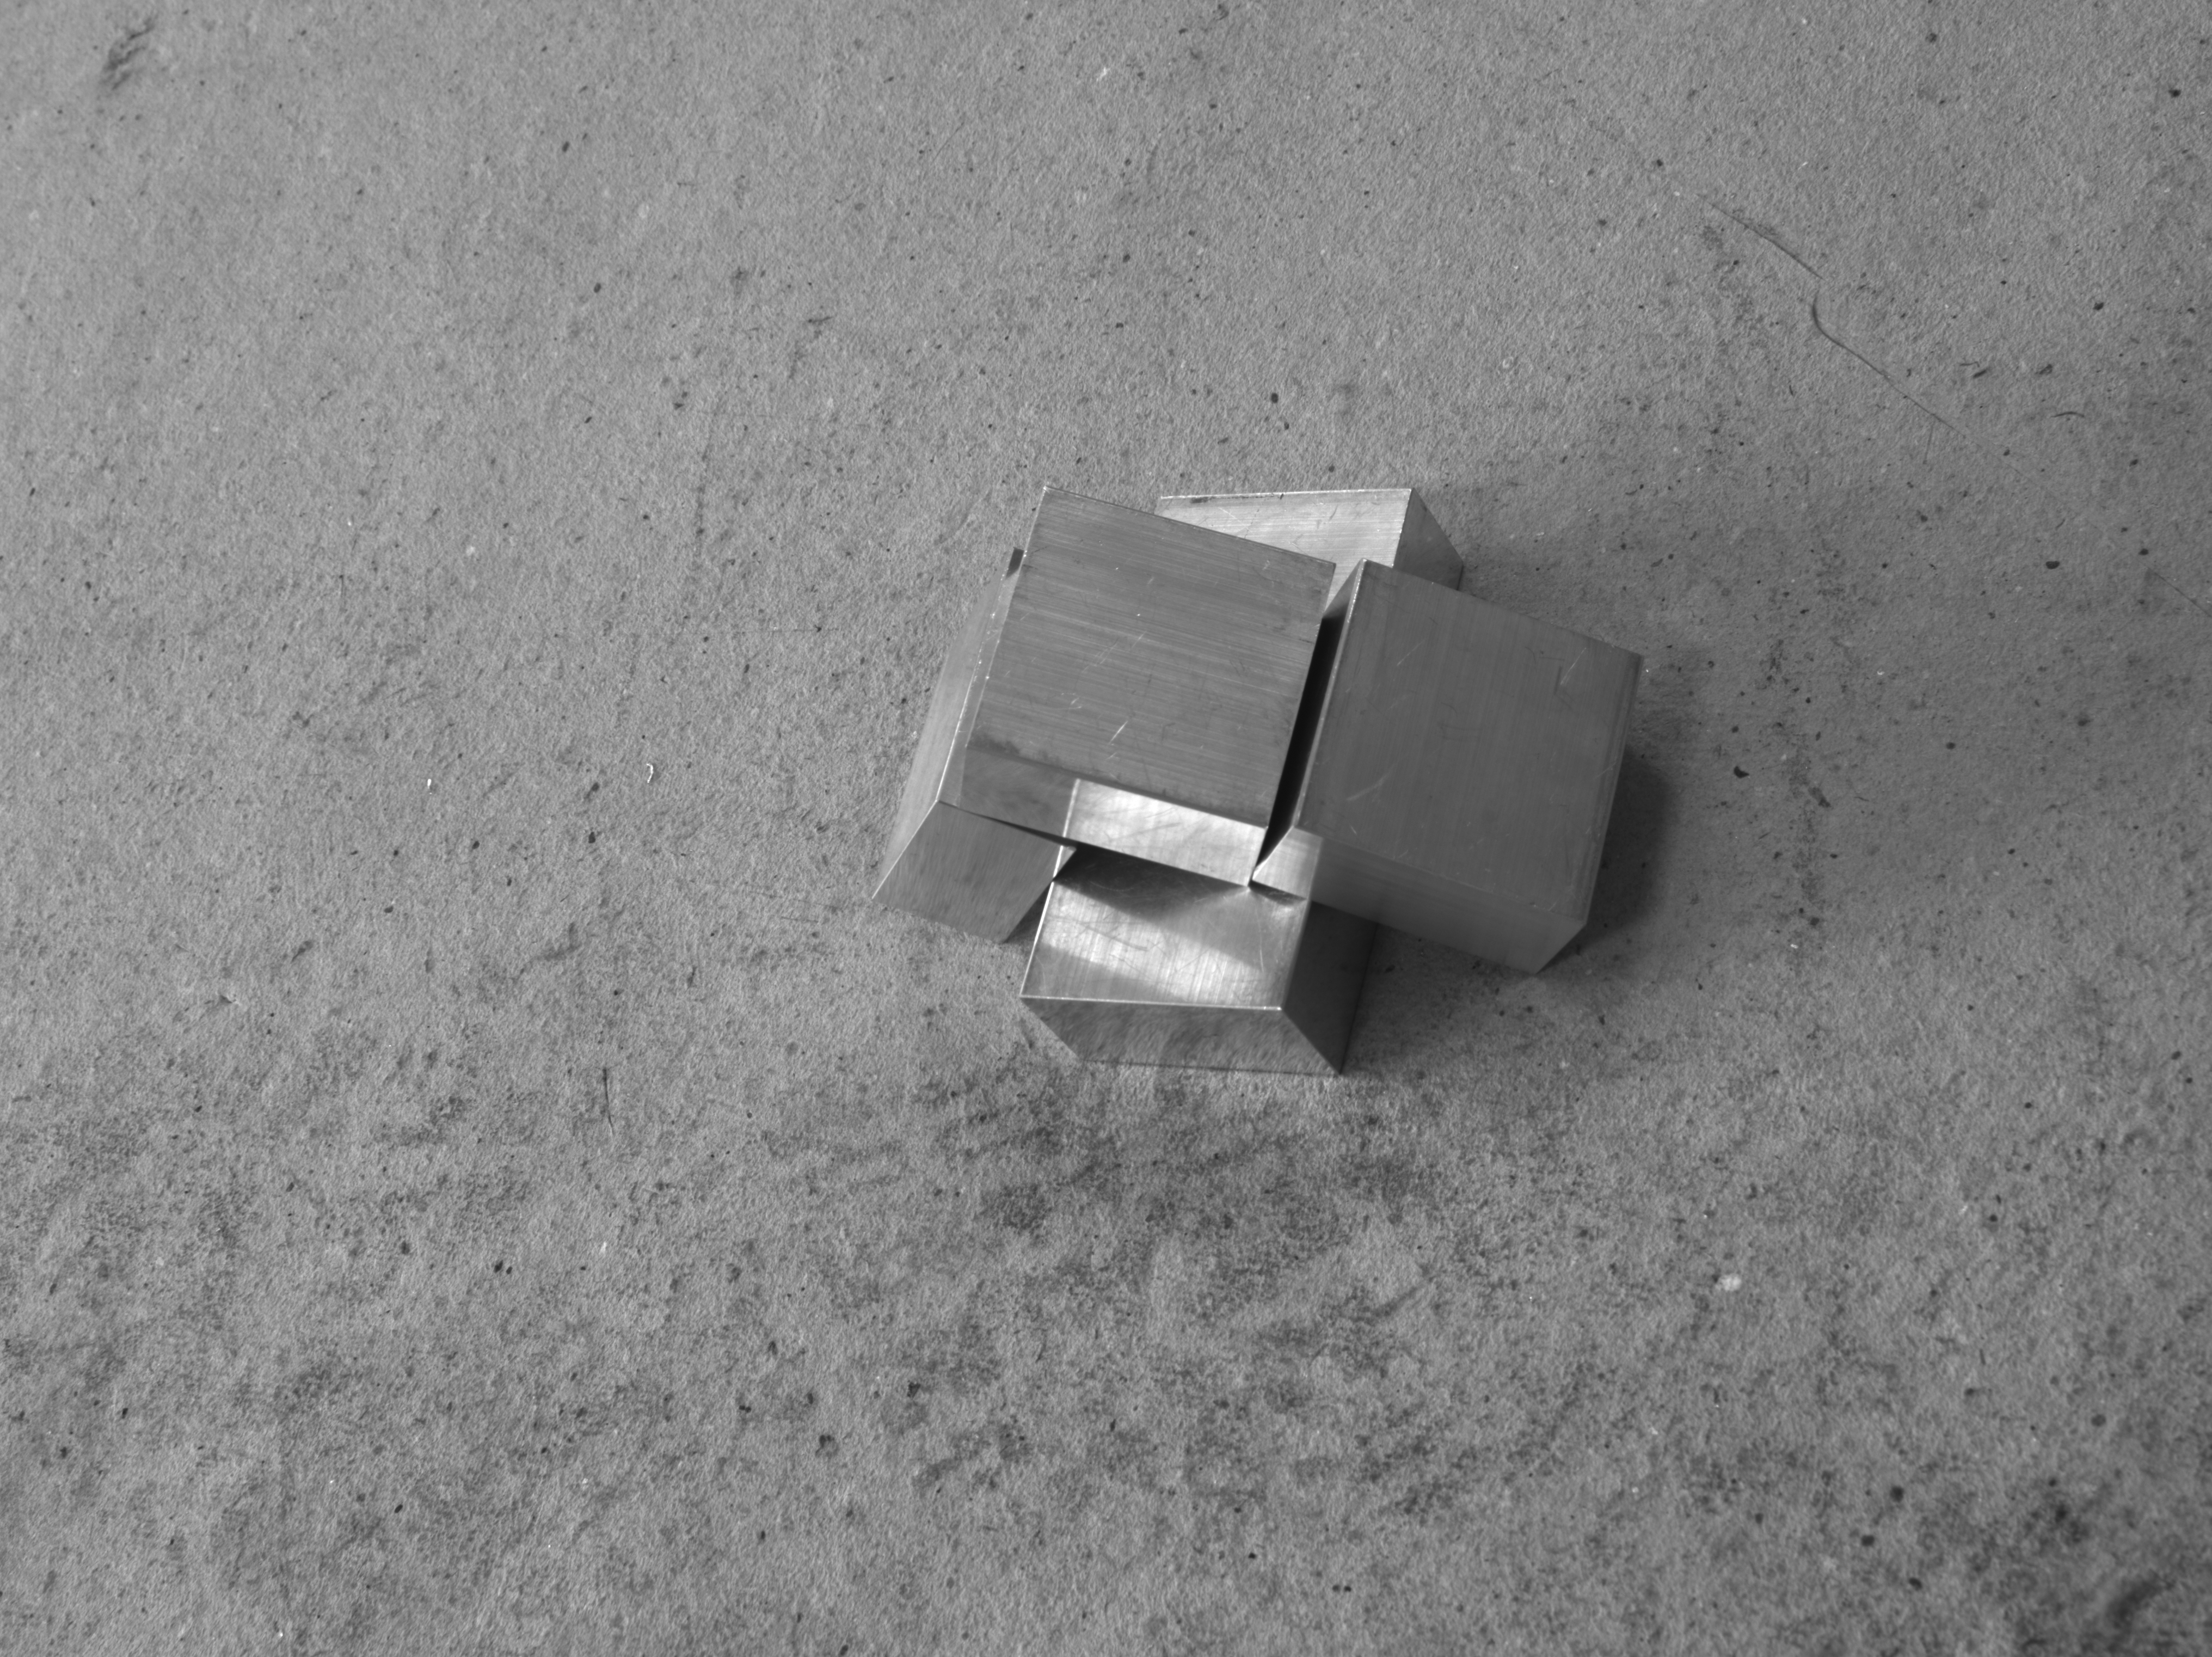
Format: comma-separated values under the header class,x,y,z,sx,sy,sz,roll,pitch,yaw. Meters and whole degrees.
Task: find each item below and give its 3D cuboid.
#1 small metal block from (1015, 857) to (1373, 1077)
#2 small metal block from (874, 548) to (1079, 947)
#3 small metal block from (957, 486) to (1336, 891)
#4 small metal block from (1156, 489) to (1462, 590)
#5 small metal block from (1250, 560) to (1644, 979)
class,x,y,z,sx,sy,sz,roll,pitch,yaw
small metal block,0.018,0.013,0.628,0.050,0.025,0.050,1,62,29
small metal block,-0.017,-0.013,0.646,0.025,0.050,0.050,19,65,-9
small metal block,0.007,-0.023,0.610,0.050,0.025,0.050,15,66,1
small metal block,0.030,-0.031,0.649,0.050,0.025,0.050,1,62,29
small metal block,0.056,-0.009,0.605,0.050,0.025,0.050,19,66,-7
